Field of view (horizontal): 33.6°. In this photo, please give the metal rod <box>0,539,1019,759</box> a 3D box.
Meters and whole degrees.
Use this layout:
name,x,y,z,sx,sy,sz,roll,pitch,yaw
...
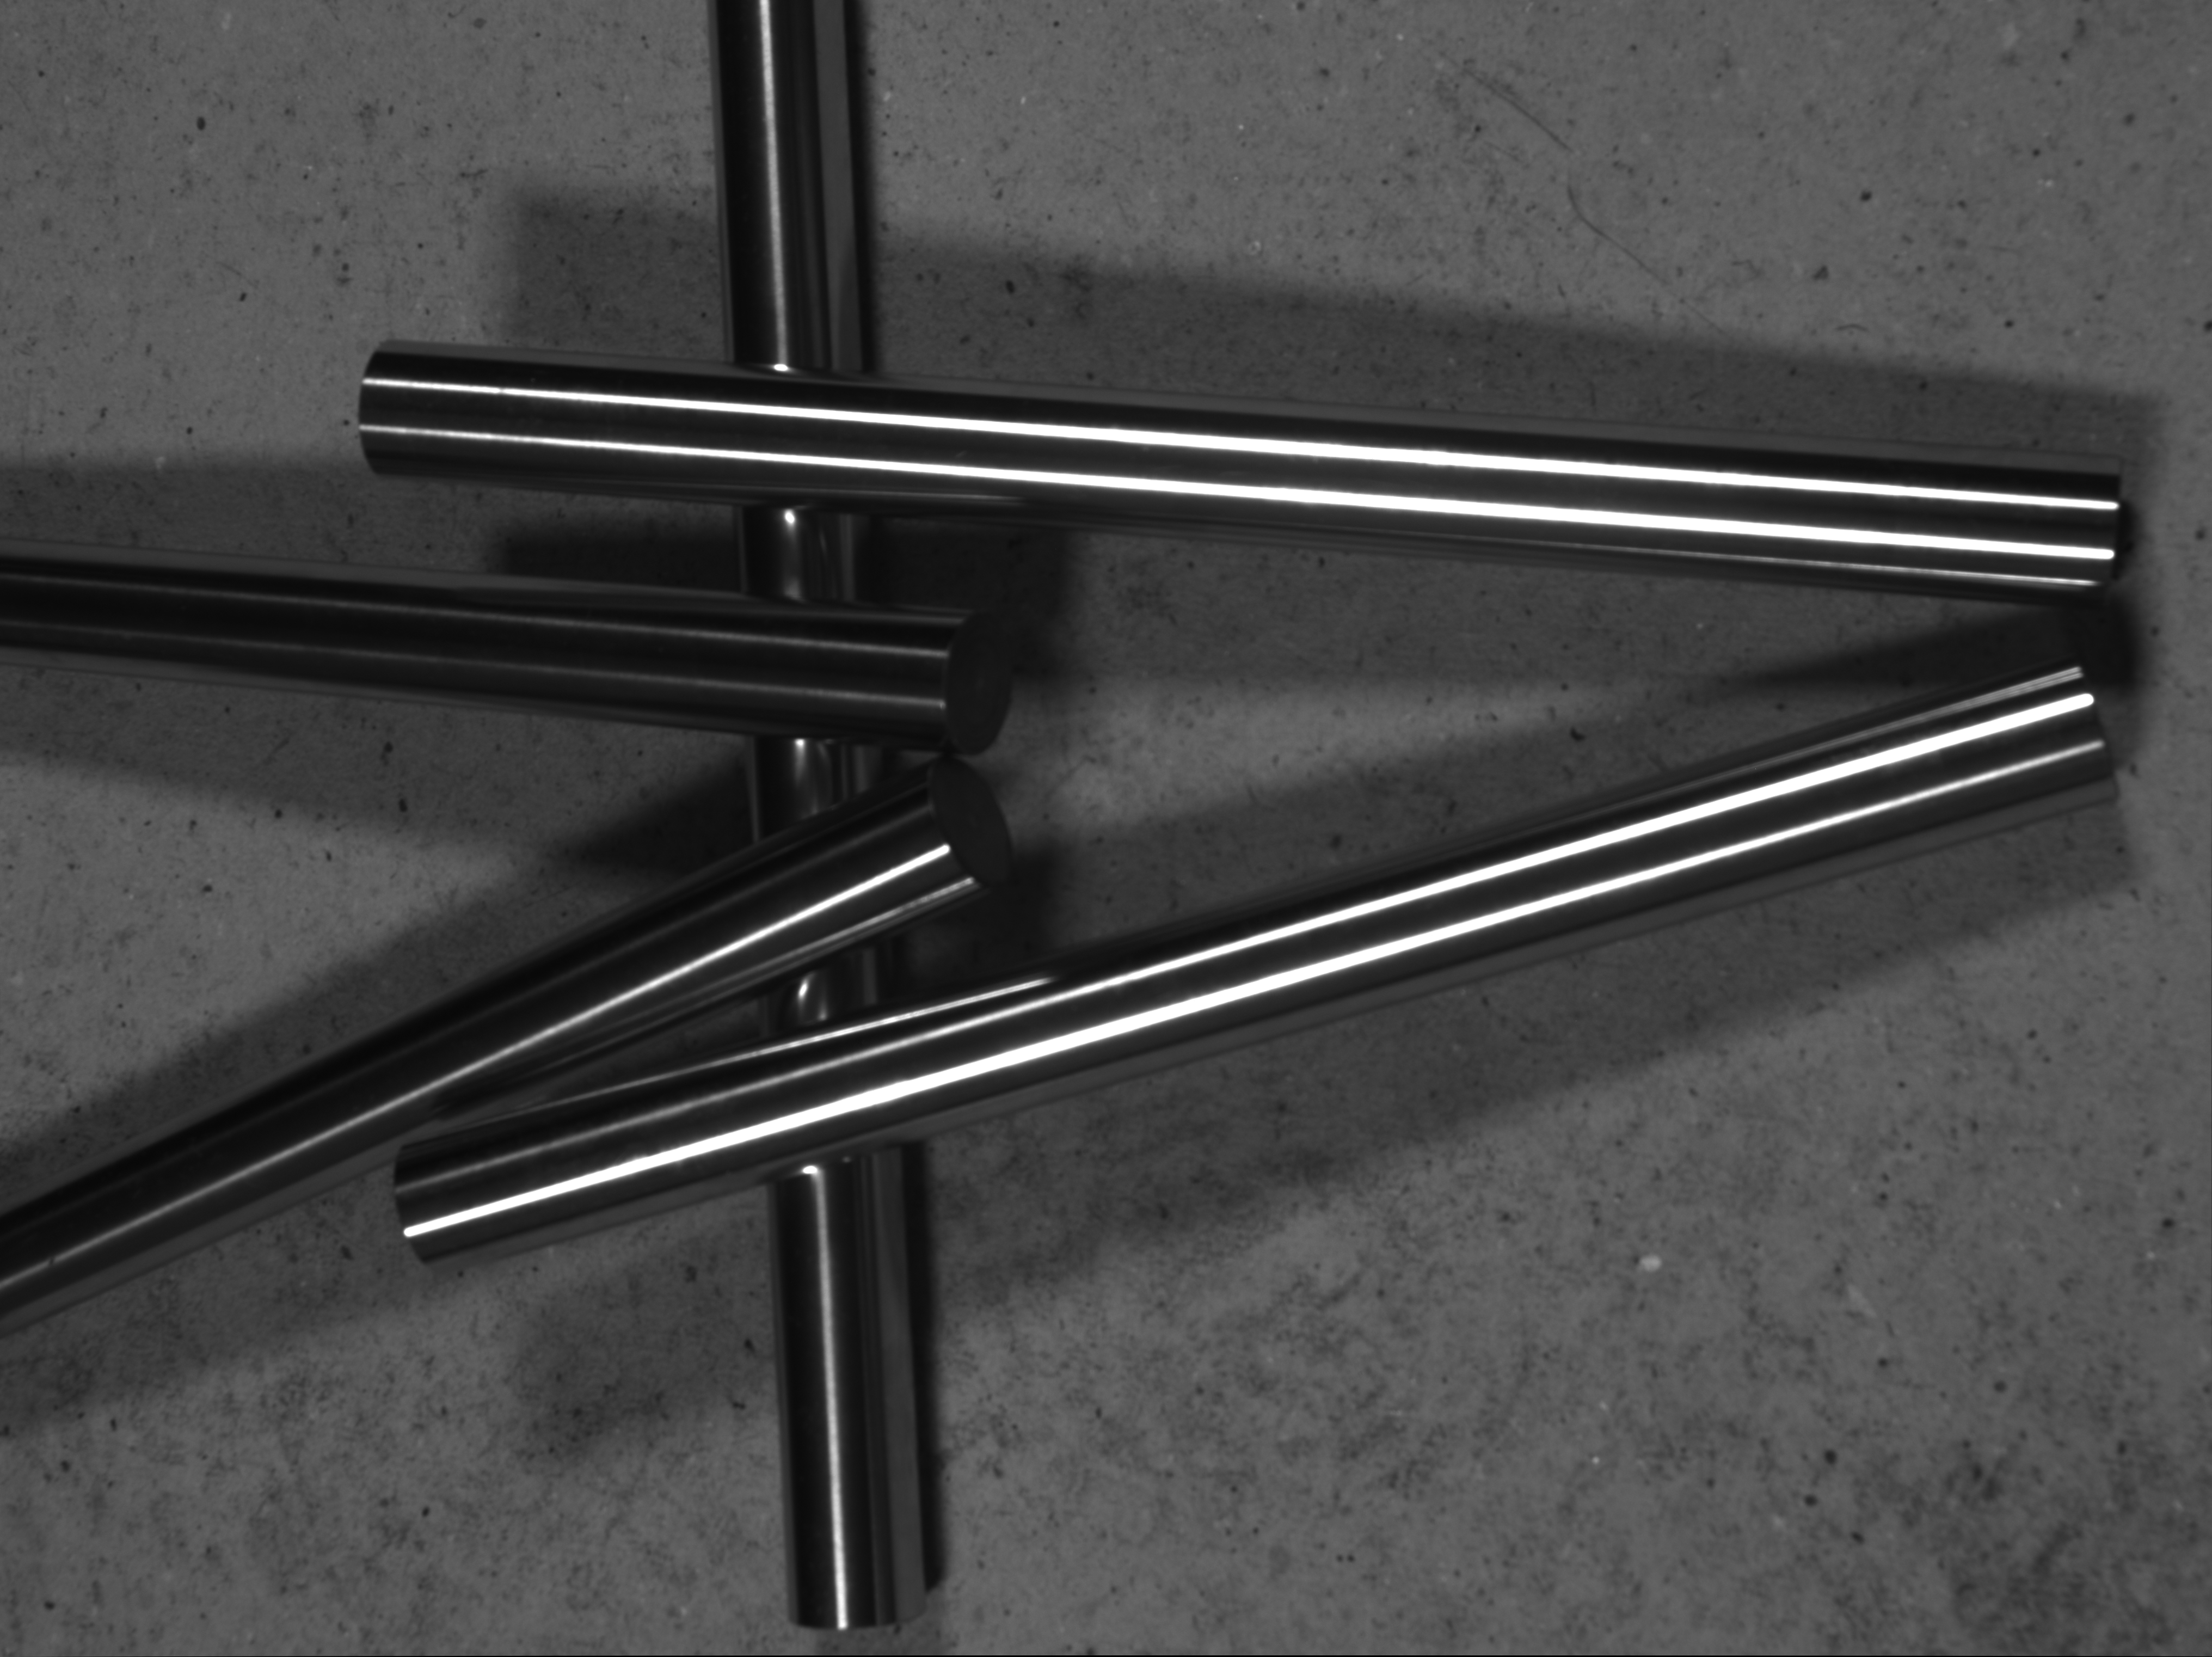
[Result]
name,x,y,z,sx,sy,sz,roll,pitch,yaw
metal rod,-0.155,-0.038,0.685,0.299,0.025,0.025,6,92,25

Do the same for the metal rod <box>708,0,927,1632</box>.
name,x,y,z,sx,sy,sz,roll,pitch,yaw
metal rod,-0.052,-0.007,0.663,0.025,0.025,0.300,-3,89,20

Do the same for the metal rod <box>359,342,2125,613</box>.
name,x,y,z,sx,sy,sz,roll,pitch,yaw
metal rod,0.017,-0.061,0.621,0.300,0.025,0.025,5,92,13

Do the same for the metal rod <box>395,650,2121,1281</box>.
name,x,y,z,sx,sy,sz,roll,pitch,yaw
metal rod,0.019,0.026,0.621,0.300,0.025,0.025,-17,84,12

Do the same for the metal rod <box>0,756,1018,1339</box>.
name,x,y,z,sx,sy,sz,roll,pitch,yaw
metal rod,-0.147,0.055,0.682,0.300,0.025,0.025,-24,82,24
